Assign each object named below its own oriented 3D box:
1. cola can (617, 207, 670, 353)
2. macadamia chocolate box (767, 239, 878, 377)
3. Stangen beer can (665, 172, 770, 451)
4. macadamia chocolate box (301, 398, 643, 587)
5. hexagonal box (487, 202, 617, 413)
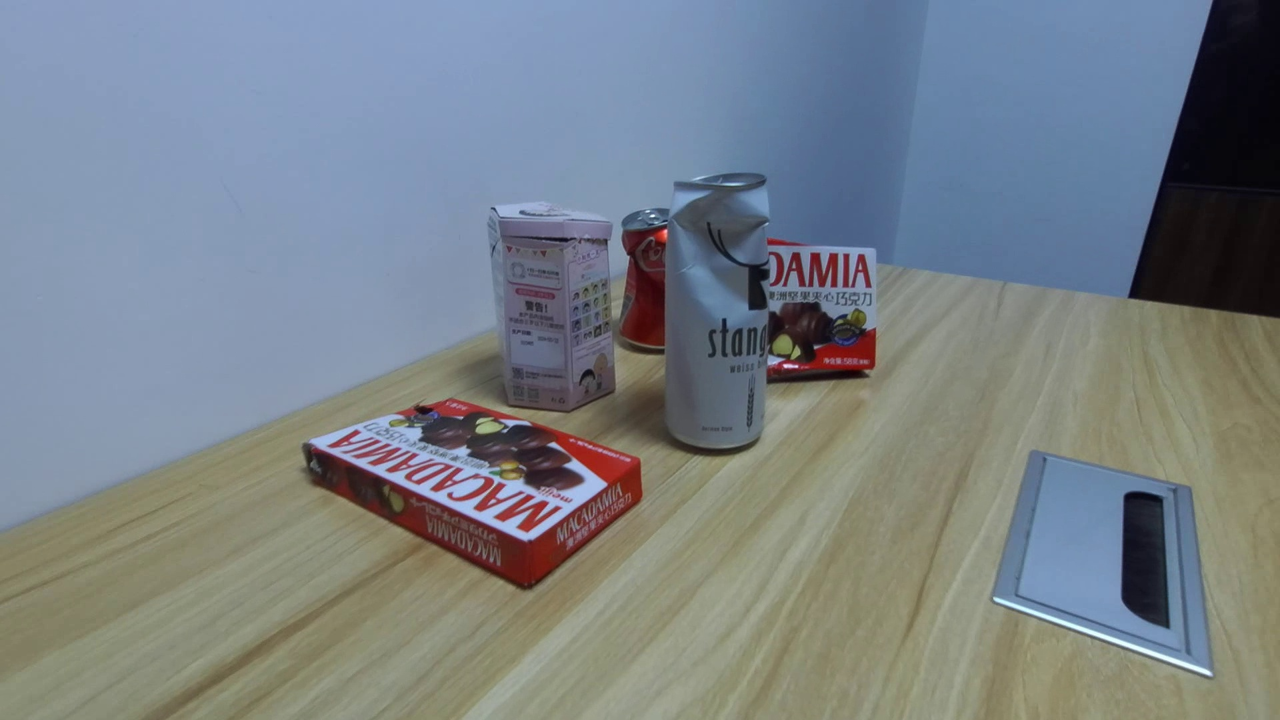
[{"bbox_3d":[0.013,-0.067,0.615,0.065,0.112,0.069,4,16,8],"label":"cola can"},{"bbox_3d":[0.121,-0.045,0.545,0.126,0.112,0.056,-2,23,-4],"label":"macadamia chocolate box"},{"bbox_3d":[0.047,-0.028,0.438,0.066,0.166,0.066,-1,21,1],"label":"Stangen beer can"},{"bbox_3d":[-0.099,0.061,0.410,0.186,0.027,0.103,14,25,31],"label":"macadamia chocolate box"},{"bbox_3d":[-0.063,-0.041,0.509,0.092,0.135,0.085,6,23,15],"label":"hexagonal box"}]
